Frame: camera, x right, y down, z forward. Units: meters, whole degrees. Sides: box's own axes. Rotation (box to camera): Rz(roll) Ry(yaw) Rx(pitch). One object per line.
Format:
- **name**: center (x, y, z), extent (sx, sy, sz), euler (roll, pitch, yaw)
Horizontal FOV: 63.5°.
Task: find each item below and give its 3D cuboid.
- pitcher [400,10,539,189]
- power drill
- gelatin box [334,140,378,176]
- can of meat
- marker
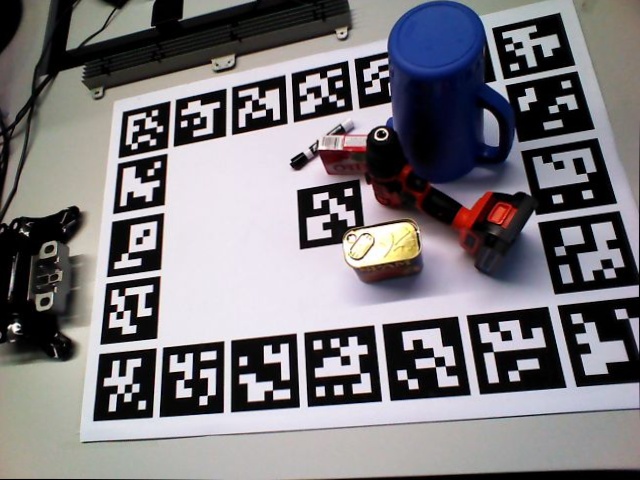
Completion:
- **pitcher**: center (0.192, -0.170, 0.669), extent (0.189, 0.242, 0.133), euler (24, 82, 28)
- **power drill**: center (0.157, -0.060, 0.666), extent (0.187, 0.184, 0.057), euler (28, 83, 16)
- **gelatin box**: center (0.072, -0.121, 0.771), extent (0.090, 0.073, 0.030), euler (3, 76, 15)
- **can of meat**: center (0.106, 0.025, 0.701), extent (0.102, 0.084, 0.057), euler (-9, 67, 12)
- **marker**: center (0.022, -0.156, 0.824), extent (0.121, 0.019, 0.019), euler (-33, 66, 3)
